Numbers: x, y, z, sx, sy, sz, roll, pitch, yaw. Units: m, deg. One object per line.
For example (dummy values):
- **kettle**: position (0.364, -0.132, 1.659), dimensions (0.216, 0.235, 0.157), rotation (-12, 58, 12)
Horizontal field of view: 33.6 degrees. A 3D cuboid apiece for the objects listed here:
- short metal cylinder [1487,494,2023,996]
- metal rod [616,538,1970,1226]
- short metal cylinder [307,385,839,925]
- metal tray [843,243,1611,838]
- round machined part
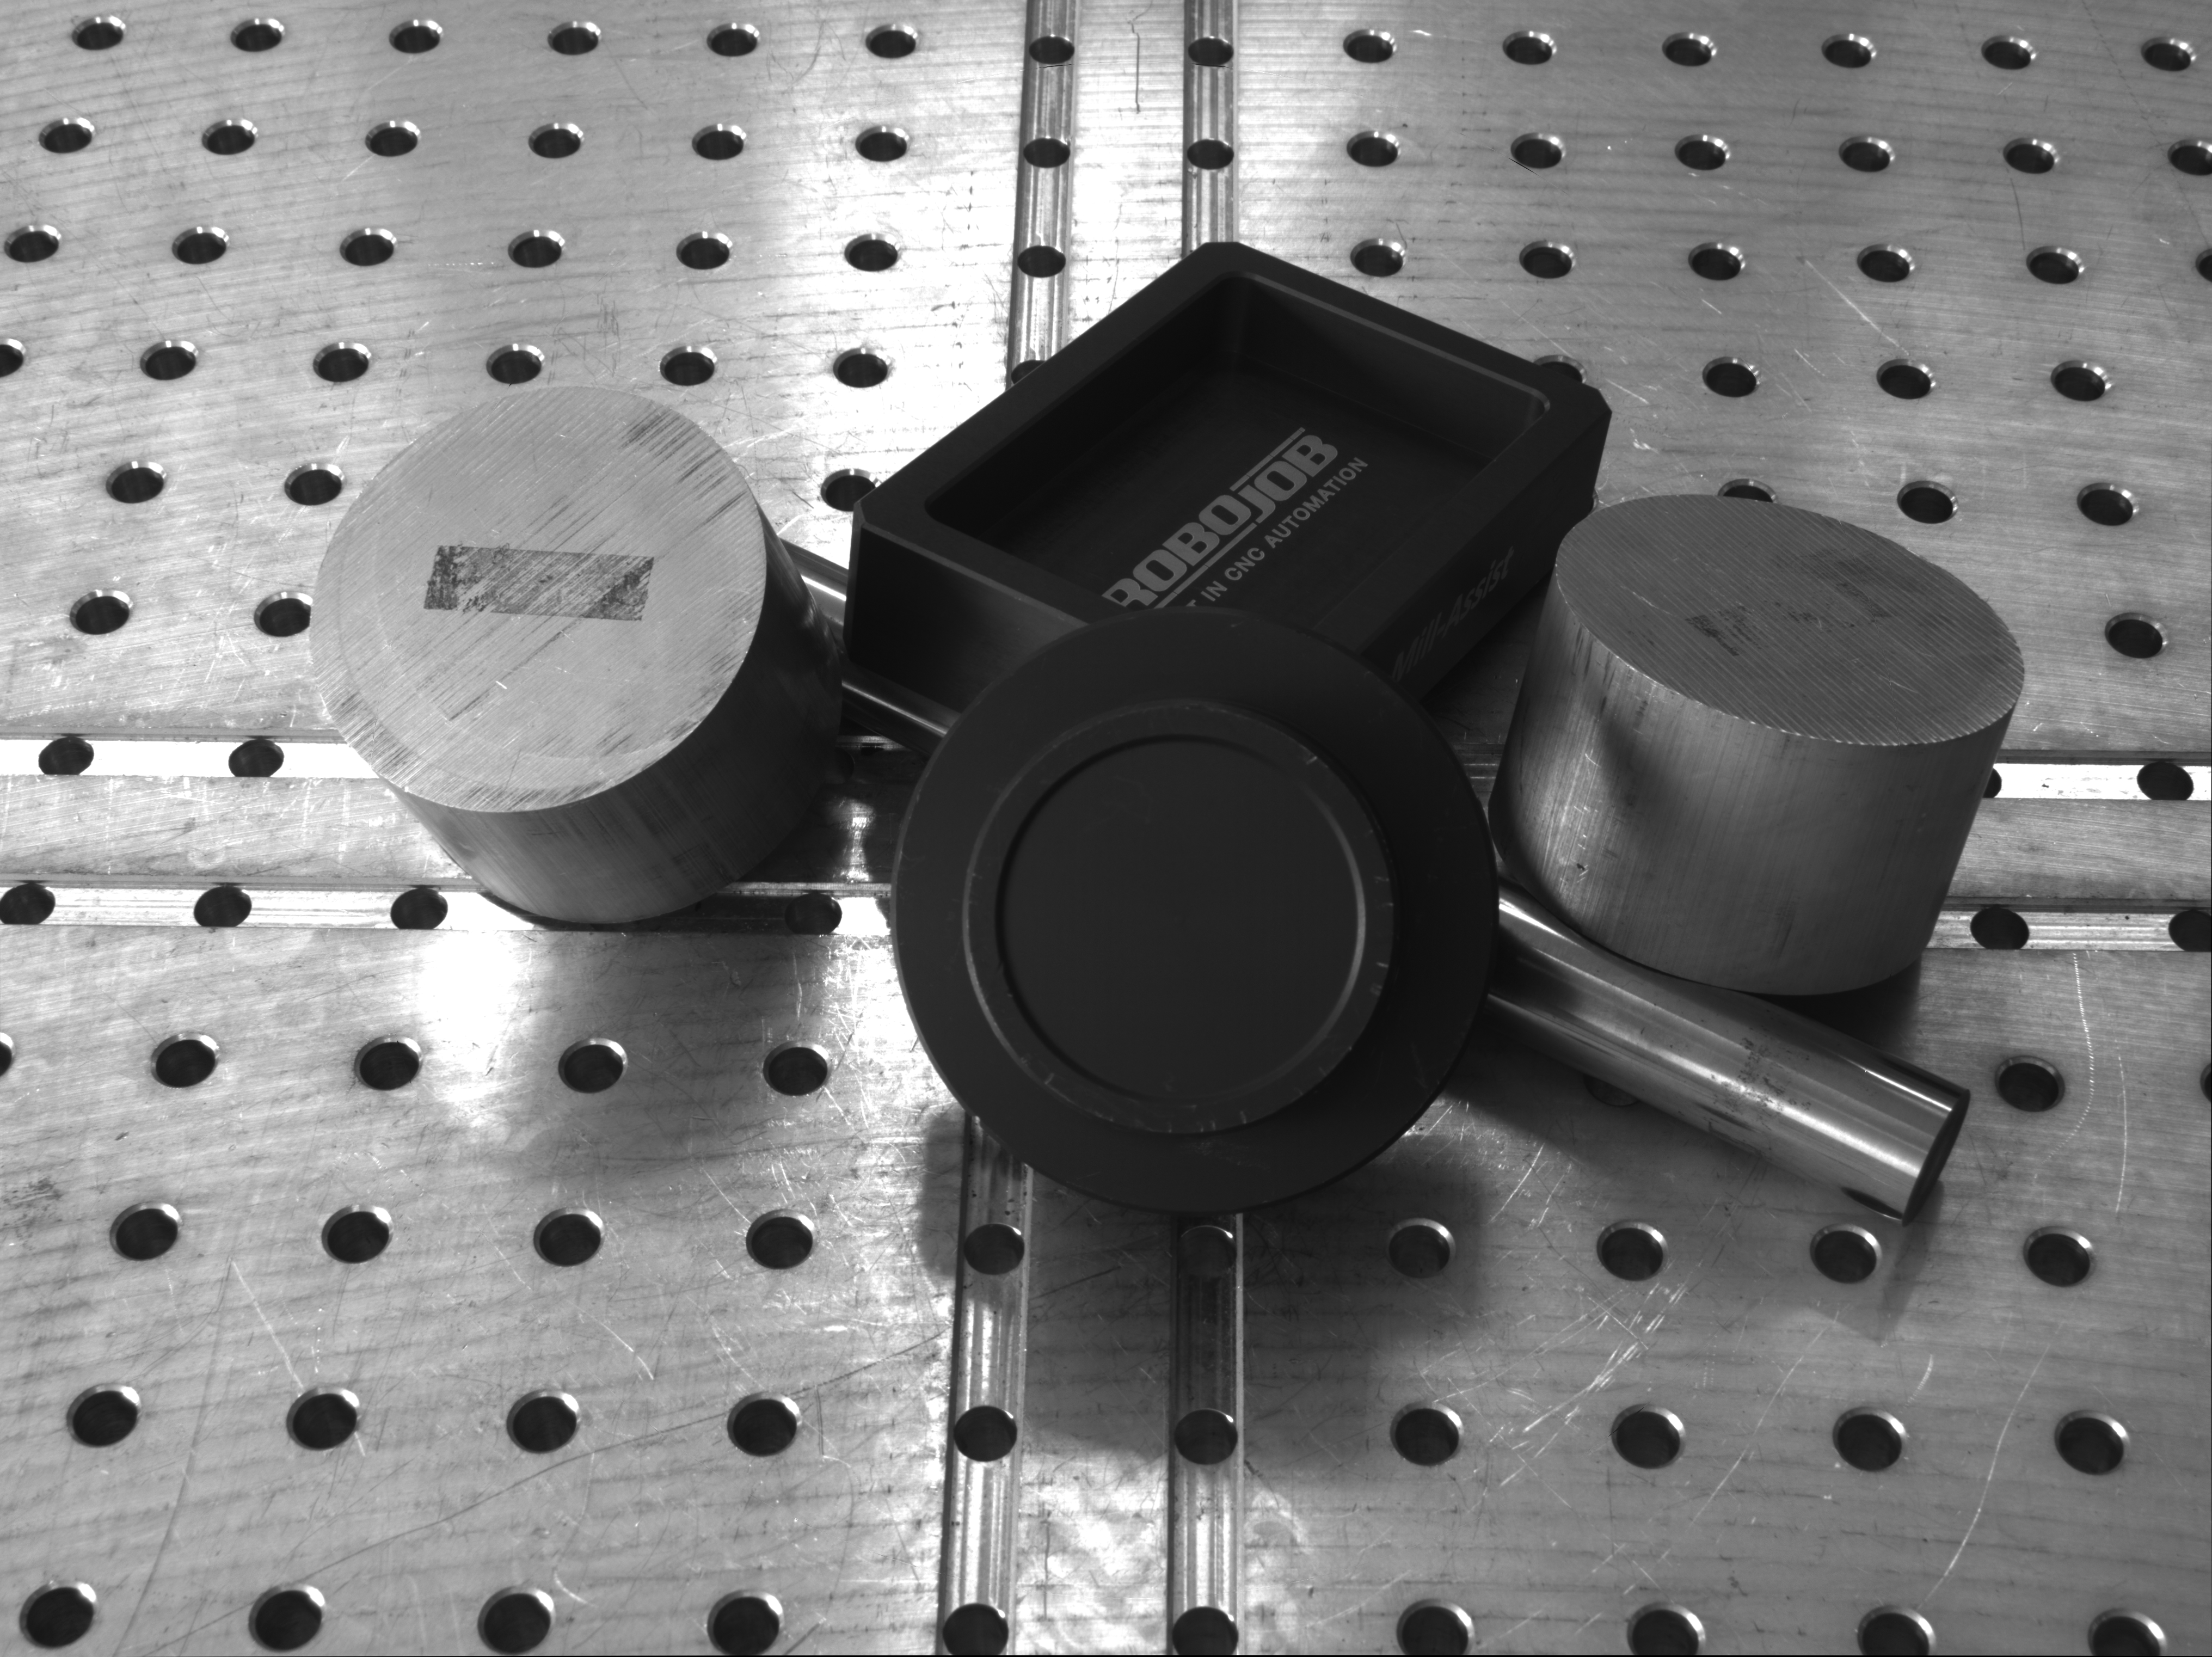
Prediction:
- **short metal cylinder**: position (0.110, -0.015, 0.626), dimensions (0.080, 0.050, 0.080), rotation (9, 33, -6)
- **metal rod**: position (0.009, -0.006, 0.650), dimensions (0.299, 0.025, 0.025), rotation (25, 54, 20)
- **short metal cylinder**: position (-0.091, -0.030, 0.638), dimensions (0.080, 0.050, 0.080), rotation (-4, 66, 9)
- **metal tray**: position (0.024, -0.056, 0.670), dimensions (0.090, 0.030, 0.130), rotation (26, 41, 20)
- **round machined part**: position (0.013, 0.014, 0.587), dimensions (0.098, 0.042, 0.098), rotation (0, 92, 6)
